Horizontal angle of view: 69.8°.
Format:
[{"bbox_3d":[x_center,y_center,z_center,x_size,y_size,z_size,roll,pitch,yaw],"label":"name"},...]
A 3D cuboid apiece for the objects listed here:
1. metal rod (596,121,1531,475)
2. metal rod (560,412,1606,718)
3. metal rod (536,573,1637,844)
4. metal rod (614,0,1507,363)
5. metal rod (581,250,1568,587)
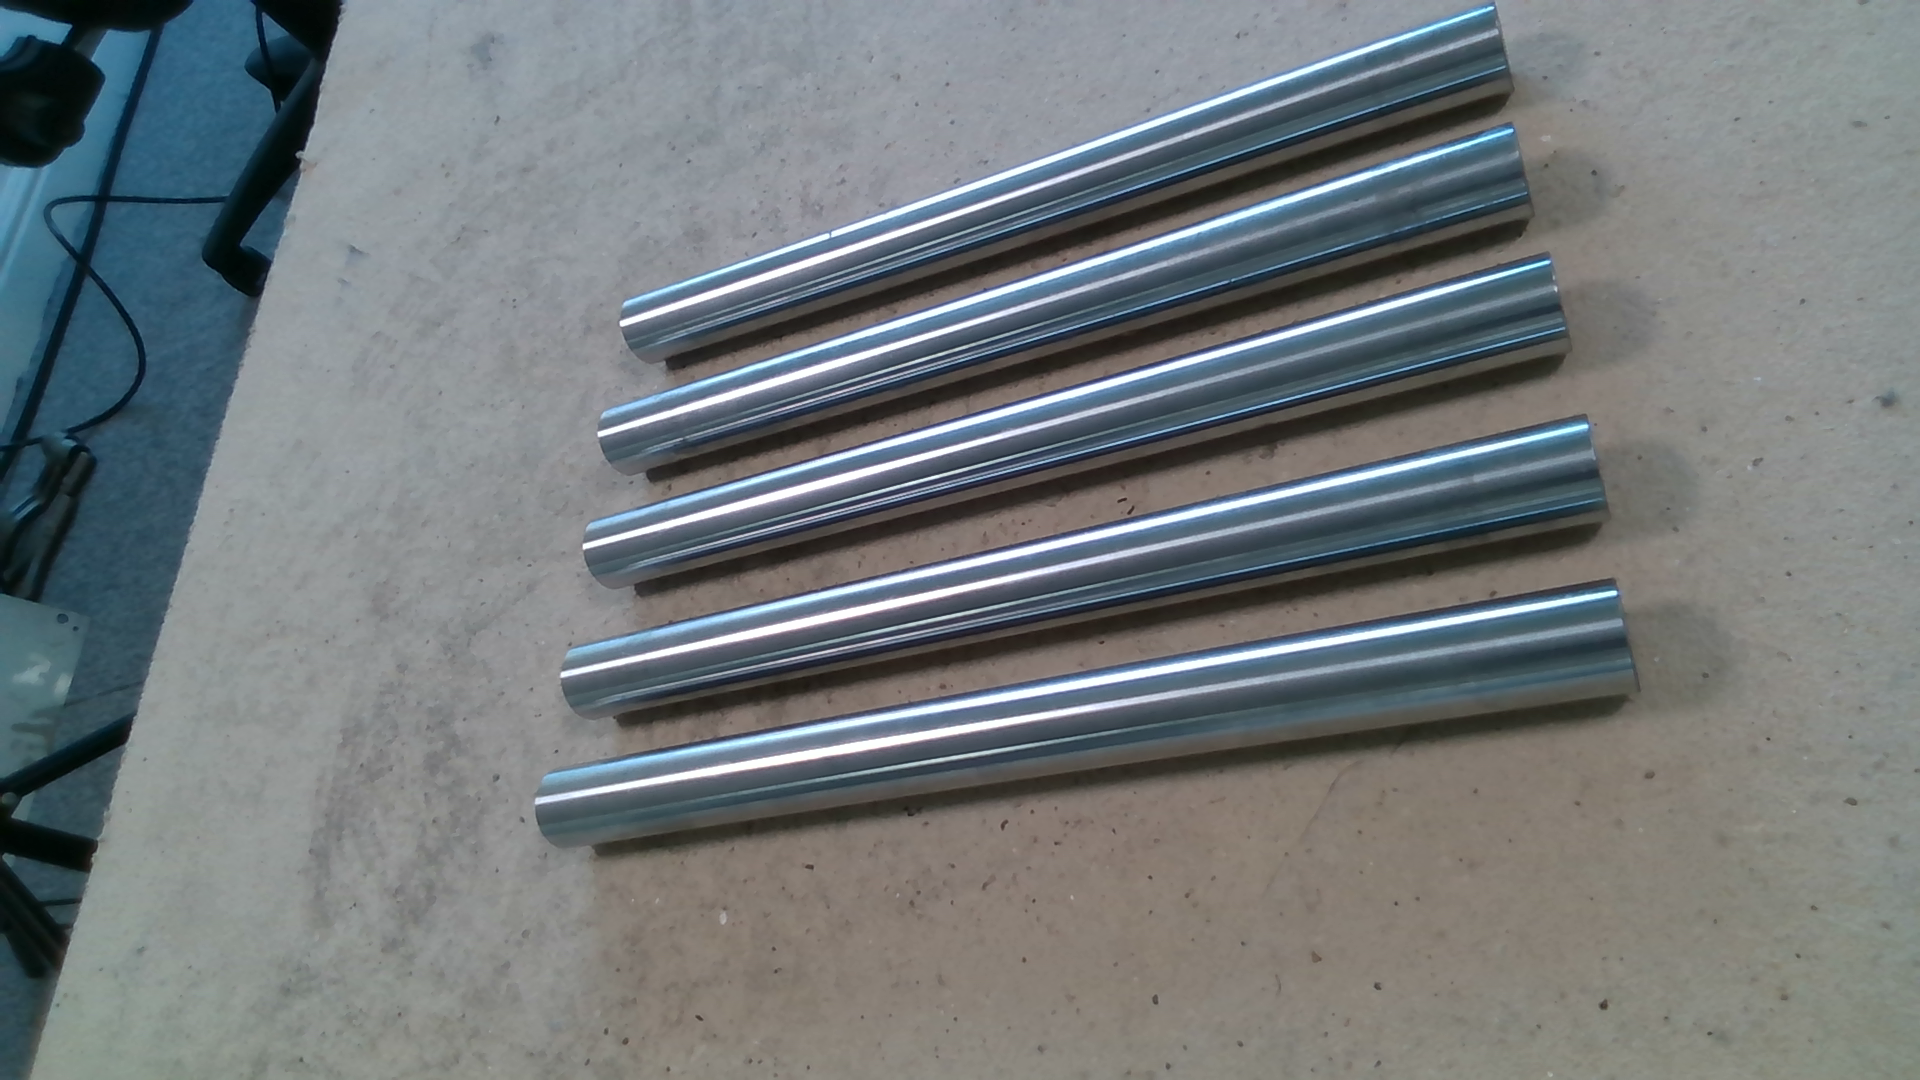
[{"bbox_3d":[0.012,-0.065,0.420,0.300,0.025,0.025,-13,59,26],"label":"metal rod"},{"bbox_3d":[0.012,0.014,0.378,0.300,0.025,0.025,-13,59,25],"label":"metal rod"},{"bbox_3d":[0.010,0.050,0.360,0.300,0.025,0.025,-13,59,25],"label":"metal rod"},{"bbox_3d":[0.014,-0.106,0.439,0.300,0.025,0.025,-12,60,26],"label":"metal rod"},{"bbox_3d":[0.013,-0.027,0.399,0.300,0.025,0.025,-13,59,25],"label":"metal rod"}]
